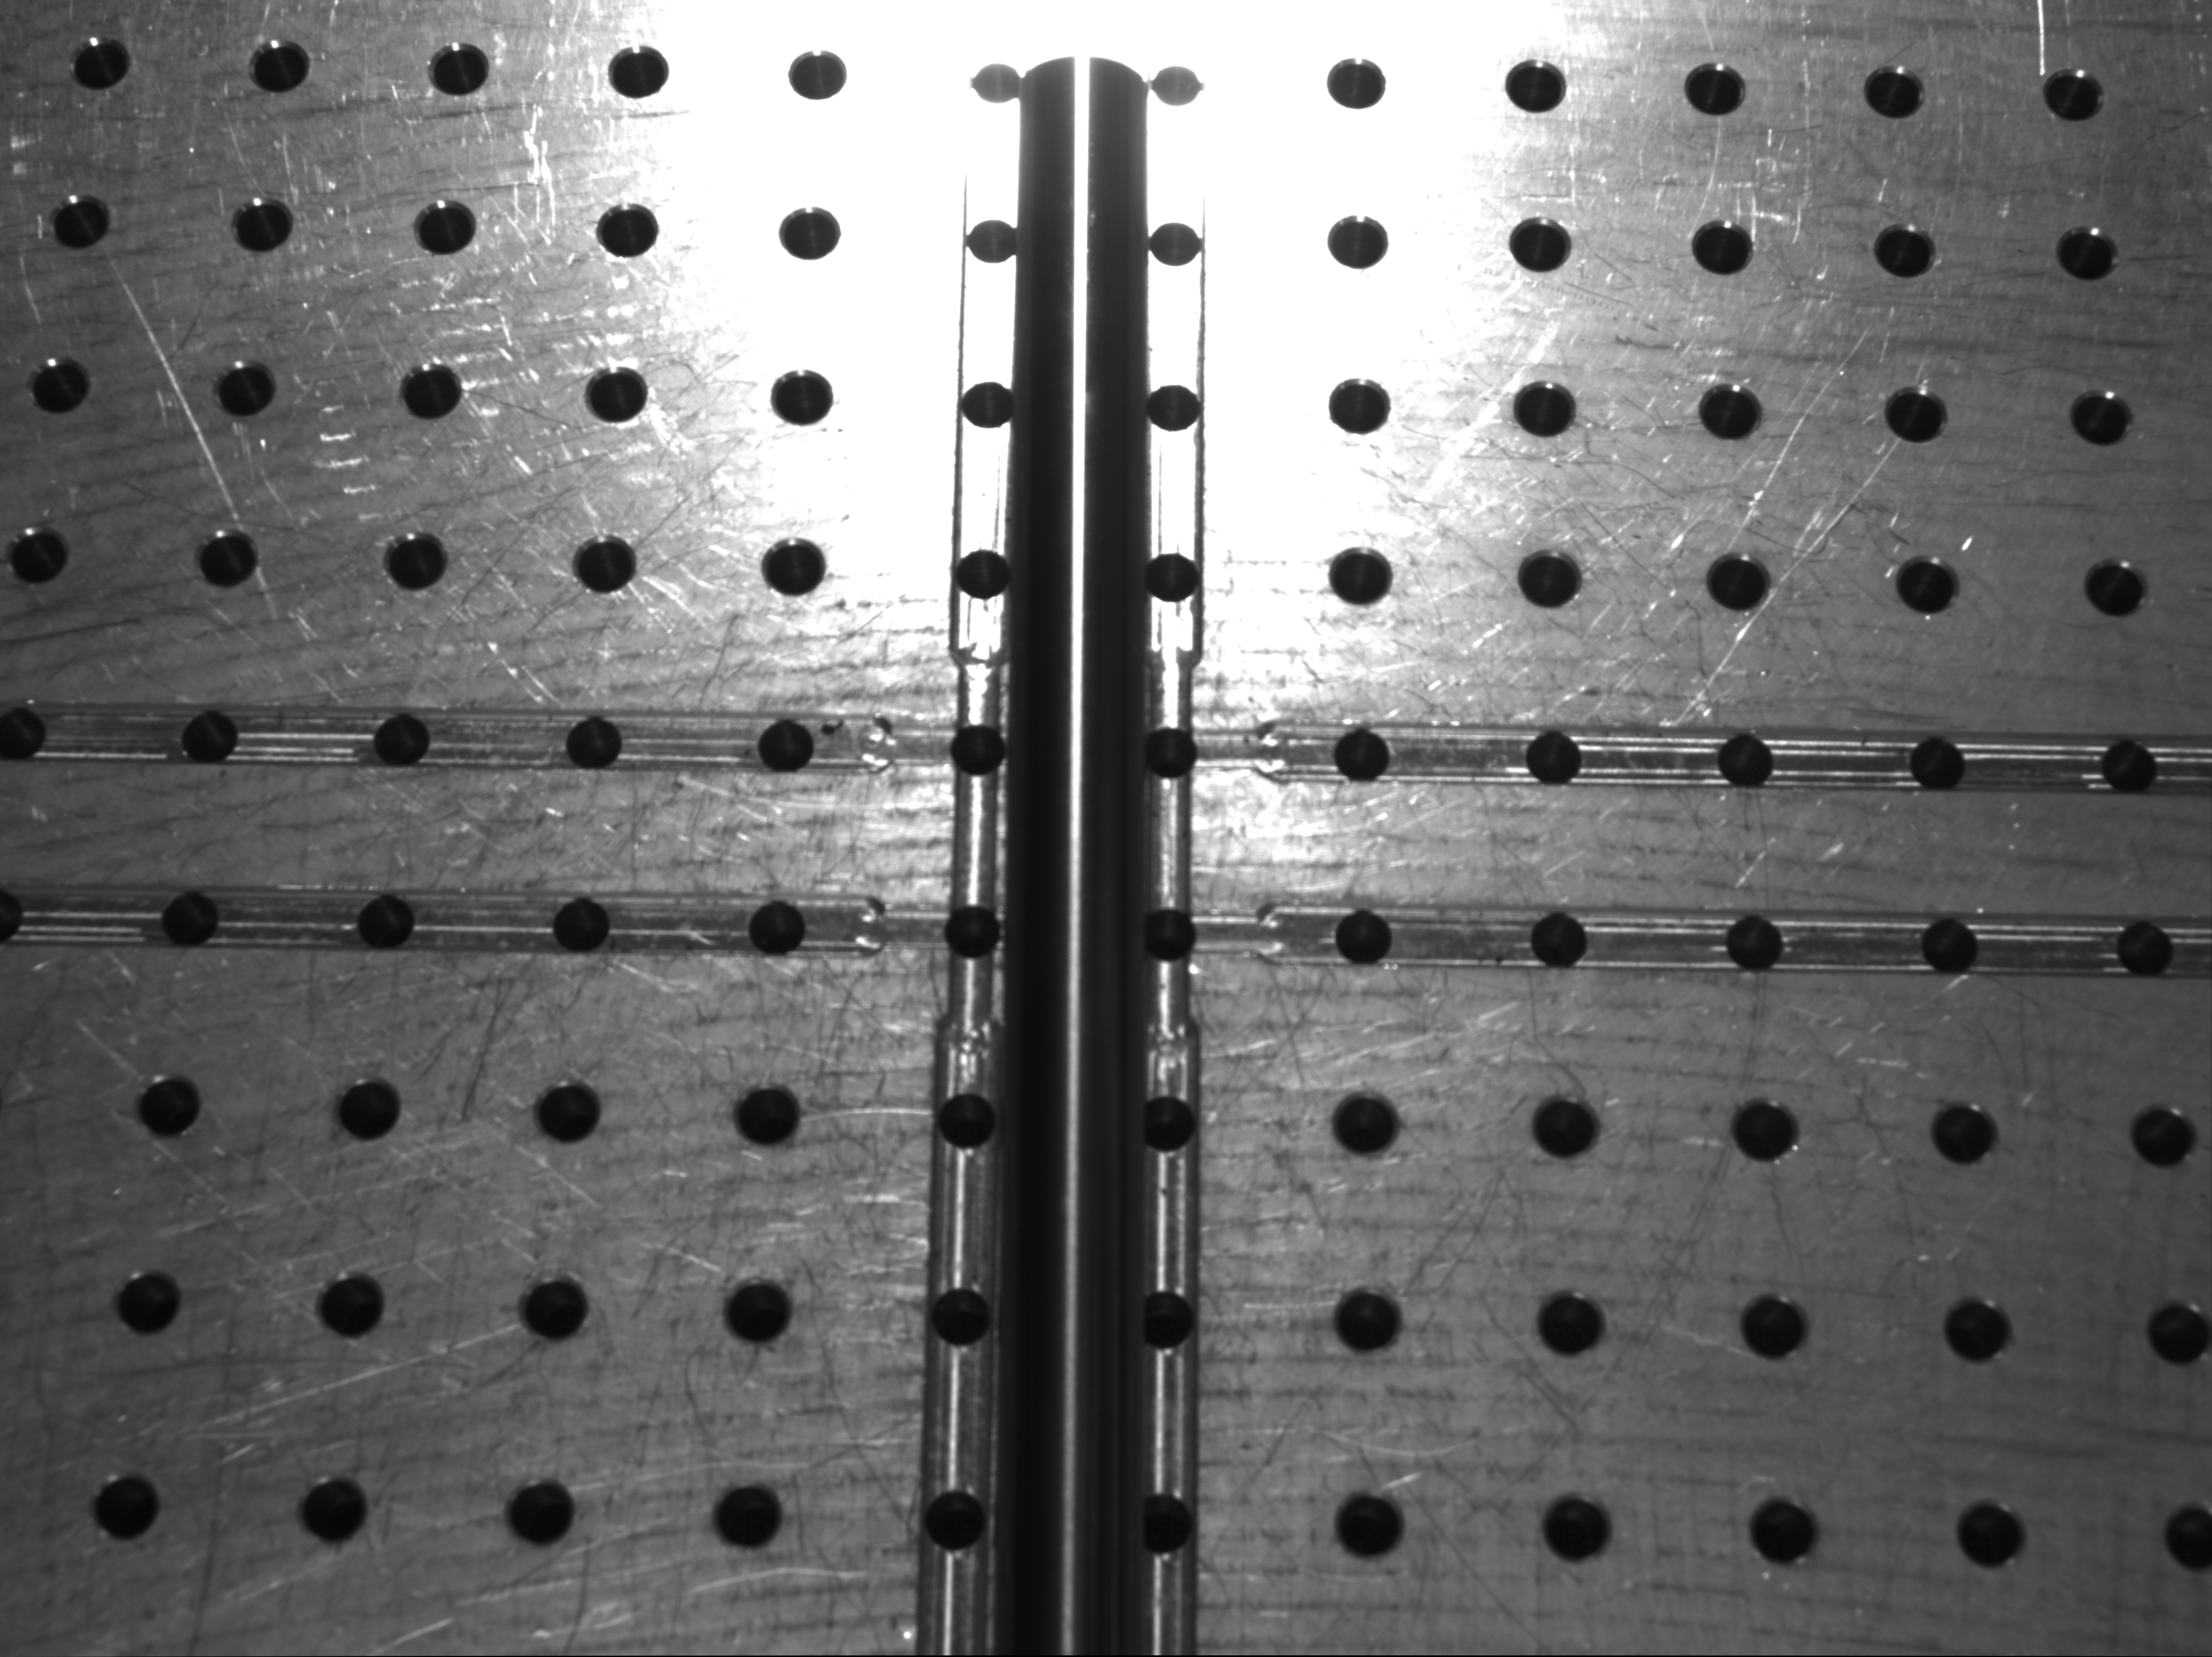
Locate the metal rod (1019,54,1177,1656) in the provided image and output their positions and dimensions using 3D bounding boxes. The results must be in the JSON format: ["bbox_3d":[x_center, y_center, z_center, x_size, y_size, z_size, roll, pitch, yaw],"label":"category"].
[{"bbox_3d":[0.000,0.000,0.647,0.025,0.025,0.300,0,70,0],"label":"metal rod"}]
